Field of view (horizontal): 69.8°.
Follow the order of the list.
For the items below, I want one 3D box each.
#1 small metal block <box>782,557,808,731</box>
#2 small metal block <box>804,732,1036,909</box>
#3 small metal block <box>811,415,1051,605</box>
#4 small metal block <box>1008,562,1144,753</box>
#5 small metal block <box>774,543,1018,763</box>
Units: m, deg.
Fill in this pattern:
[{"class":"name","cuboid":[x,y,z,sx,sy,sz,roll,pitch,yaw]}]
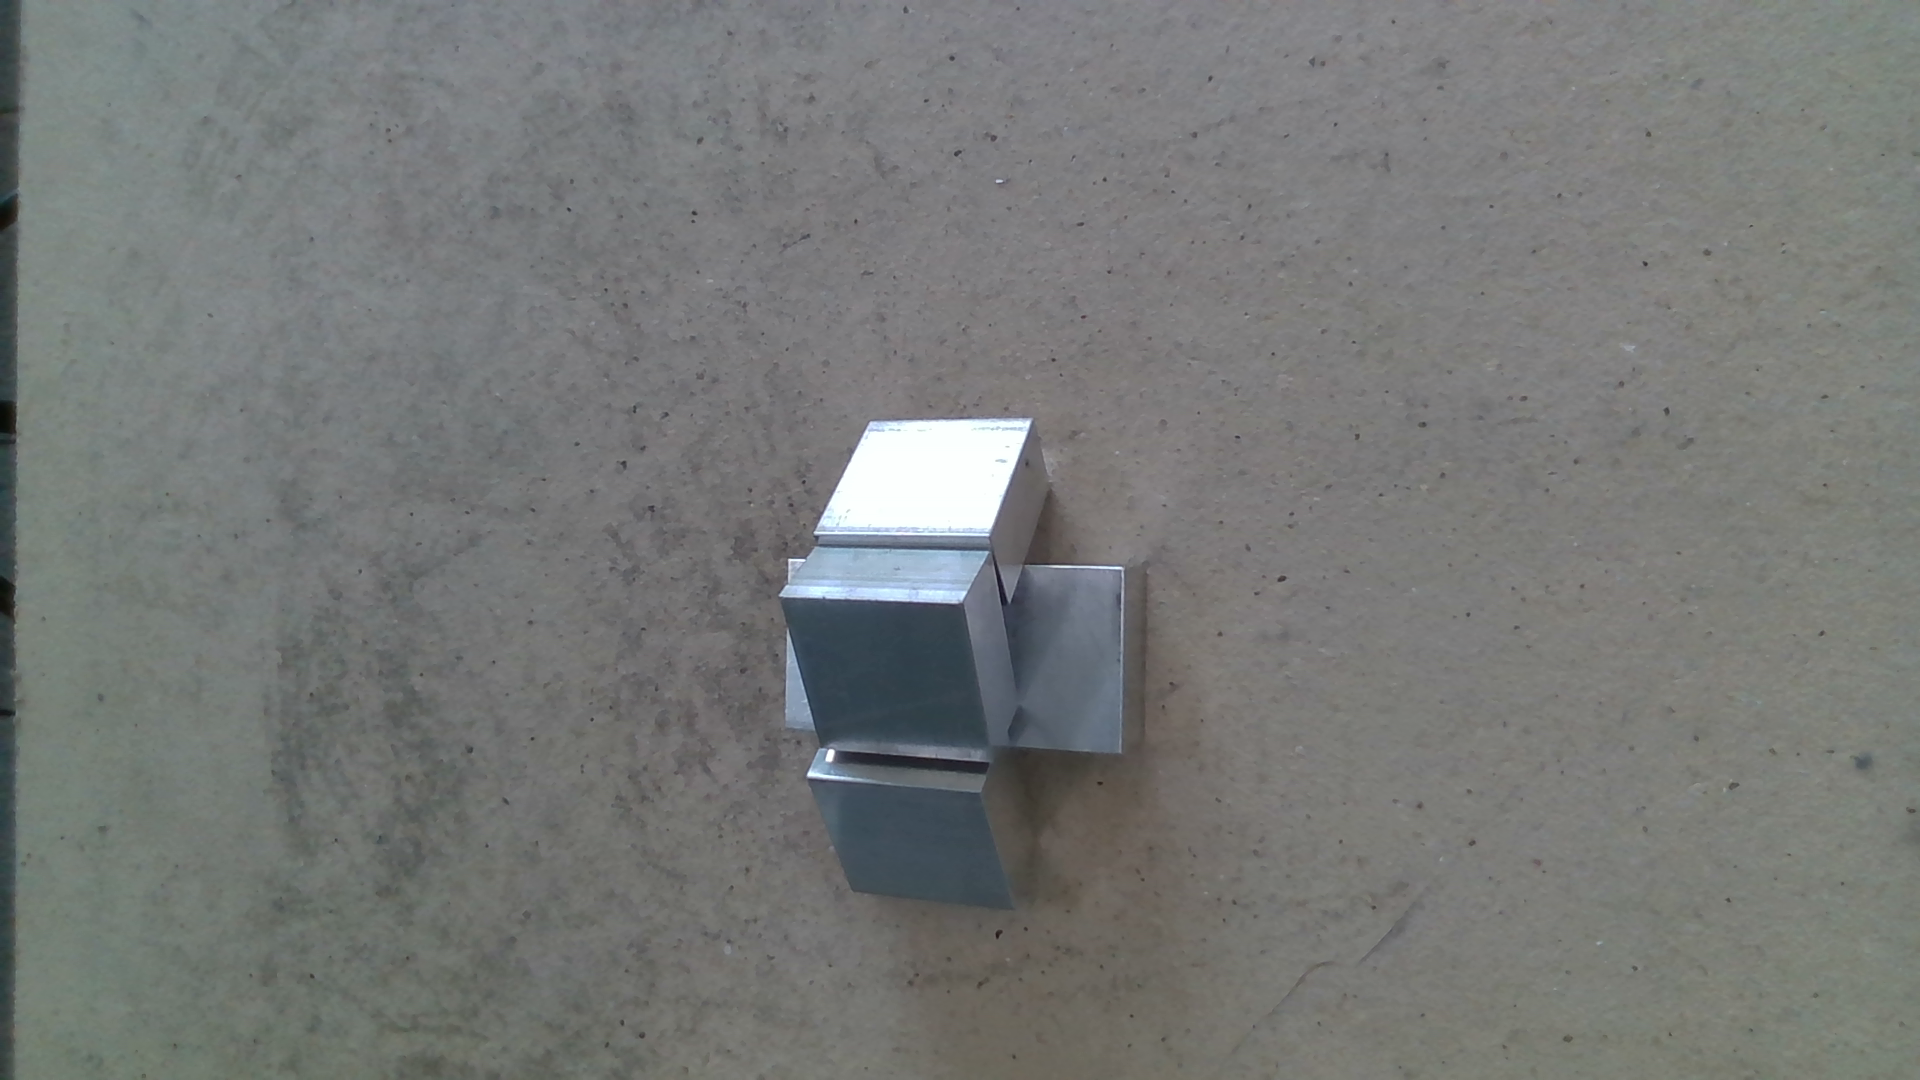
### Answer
[{"class":"small metal block","cuboid":[-0.024,0.030,0.403,0.050,0.025,0.050,1,91,20]},{"class":"small metal block","cuboid":[-0.010,0.075,0.385,0.050,0.025,0.050,1,130,21]},{"class":"small metal block","cuboid":[-0.007,-0.009,0.382,0.050,0.050,0.025,1,132,20]},{"class":"small metal block","cuboid":[0.024,0.031,0.385,0.050,0.025,0.050,1,91,20]},{"class":"small metal block","cuboid":[-0.016,0.029,0.361,0.050,0.025,0.050,1,122,20]}]
